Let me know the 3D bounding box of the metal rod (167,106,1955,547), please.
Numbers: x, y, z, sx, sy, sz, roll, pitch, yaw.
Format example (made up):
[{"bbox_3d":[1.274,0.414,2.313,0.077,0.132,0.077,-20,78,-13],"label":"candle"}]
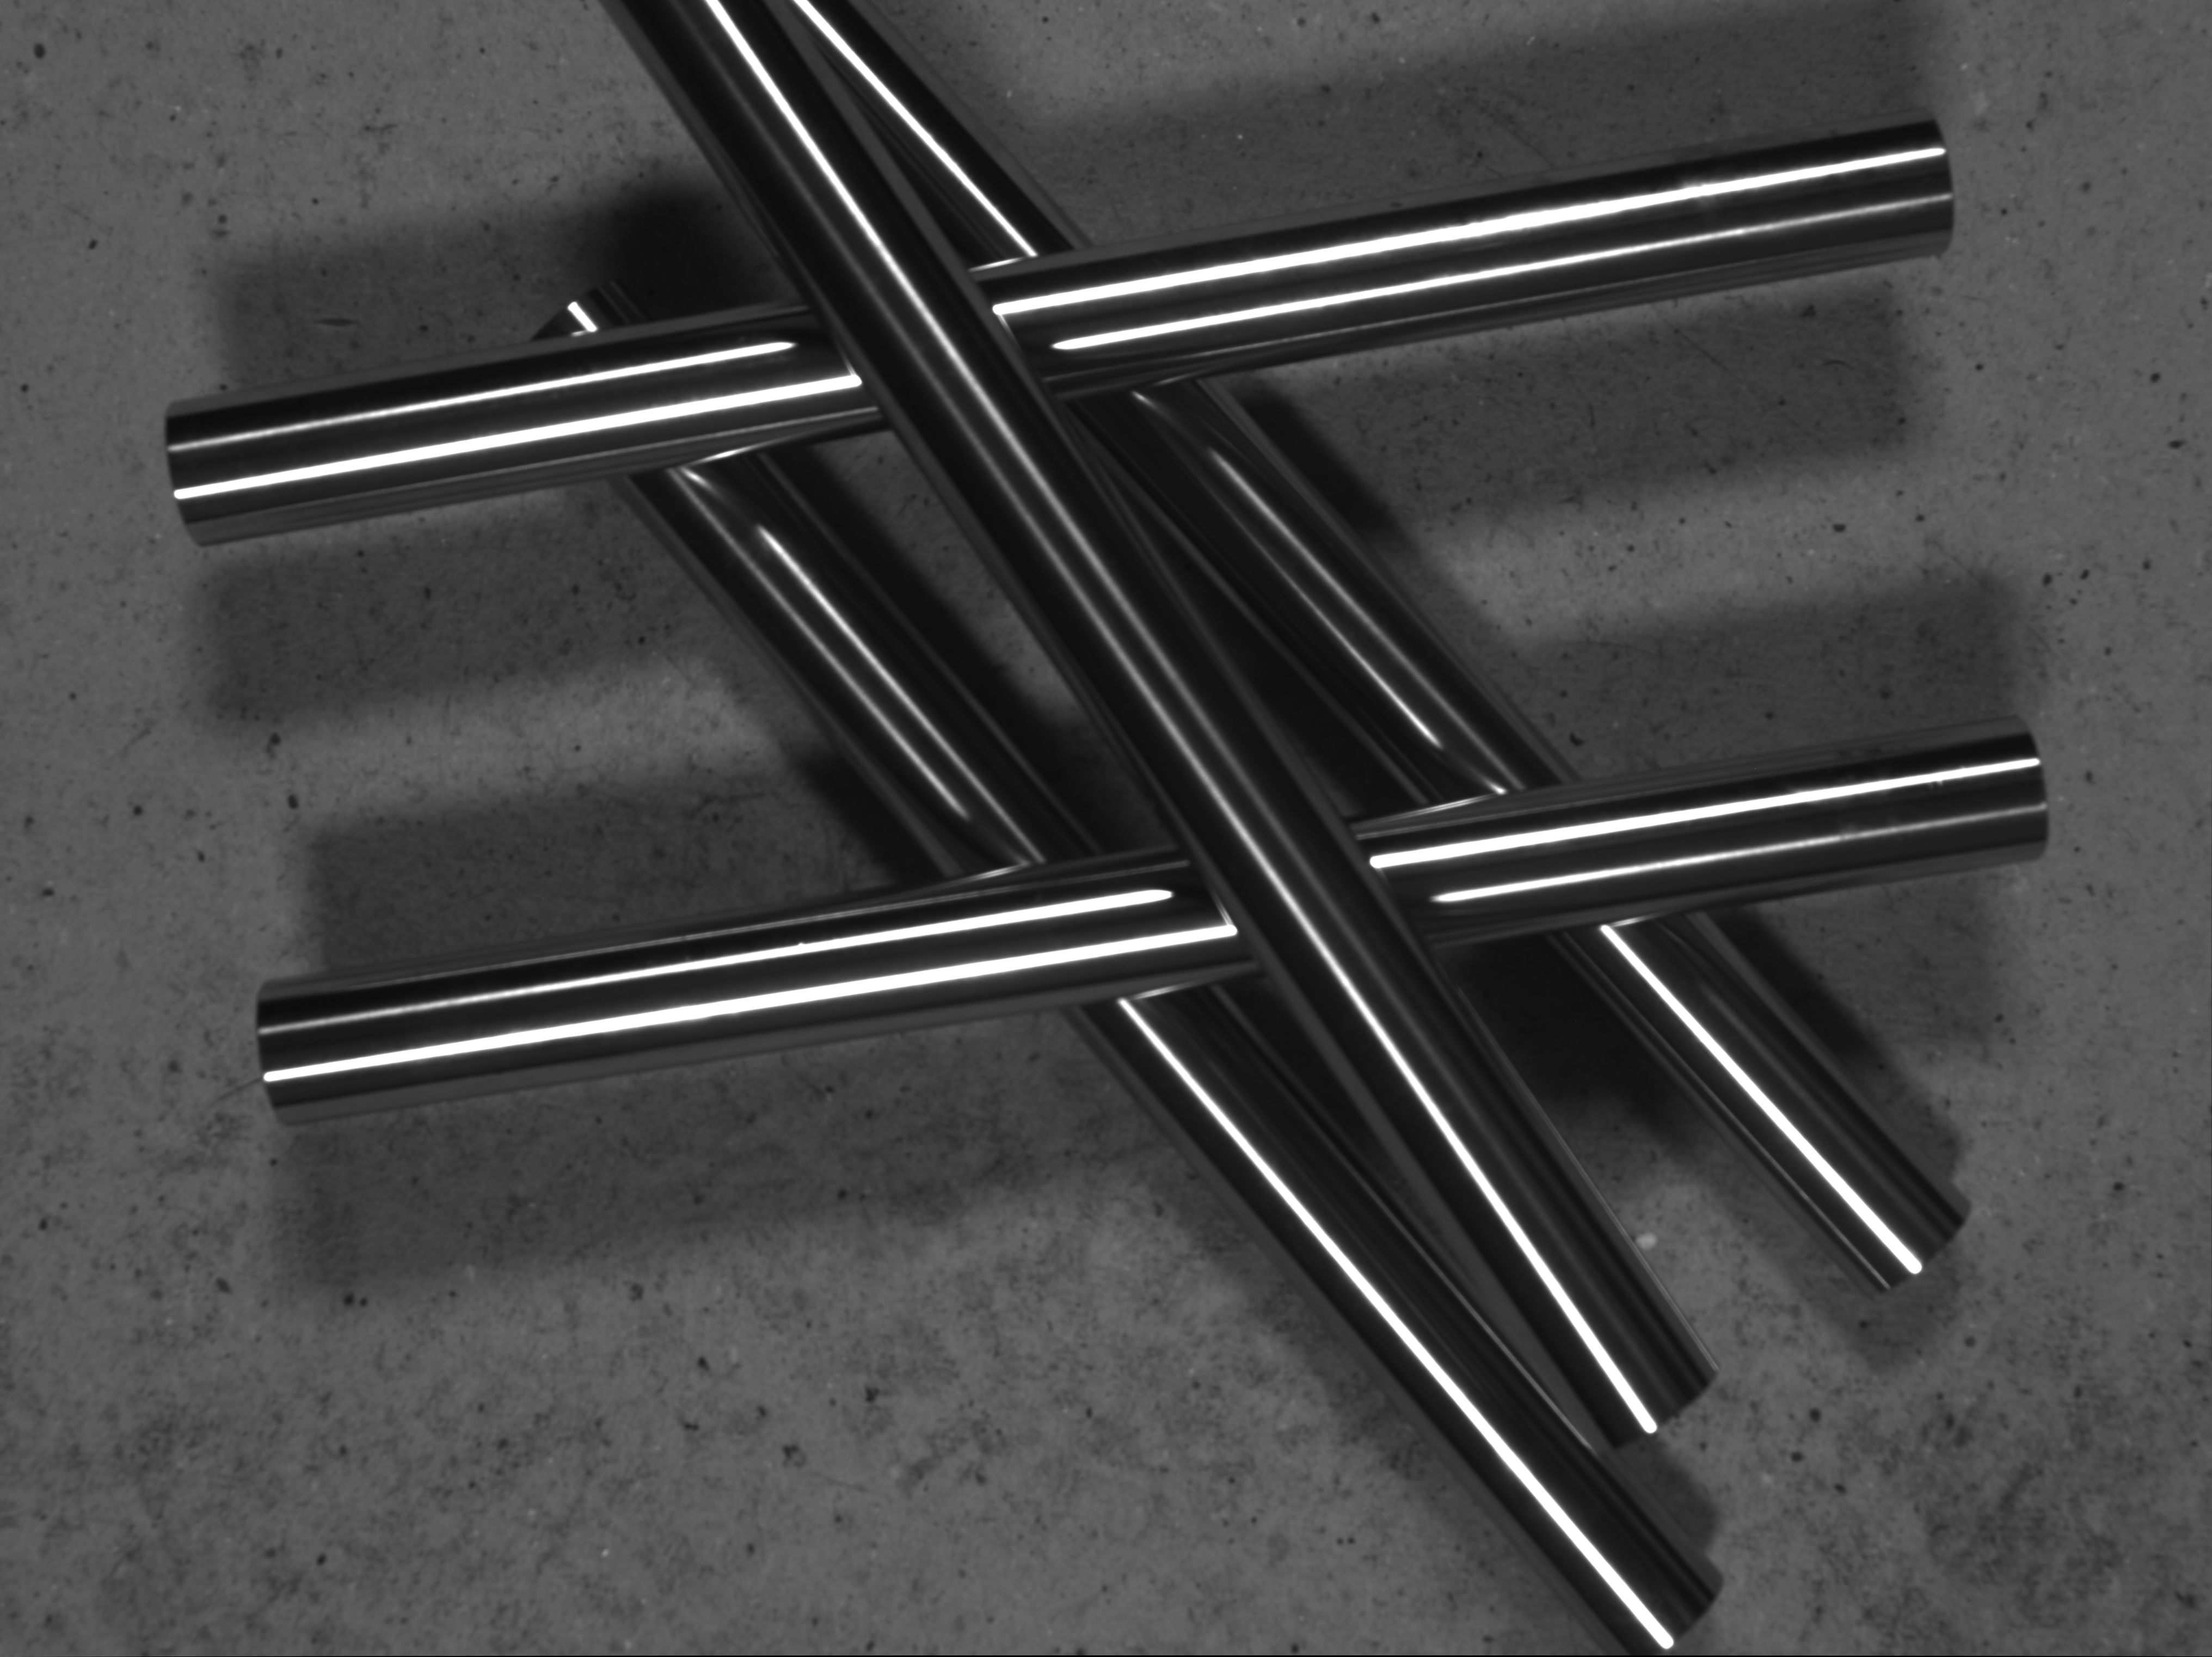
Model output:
[{"bbox_3d":[-0.007,-0.085,0.621,0.300,0.025,0.025,-10,90,-1],"label":"metal rod"}]

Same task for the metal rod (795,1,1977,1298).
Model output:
[{"bbox_3d":[0.043,-0.036,0.645,0.025,0.025,0.300,-43,90,0],"label":"metal rod"}]

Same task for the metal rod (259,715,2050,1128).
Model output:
[{"bbox_3d":[0.008,0.016,0.621,0.300,0.025,0.025,-9,90,-1],"label":"metal rod"}]

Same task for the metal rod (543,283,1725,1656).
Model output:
[{"bbox_3d":[0.002,0.027,0.645,0.025,0.025,0.300,-40,90,0],"label":"metal rod"}]

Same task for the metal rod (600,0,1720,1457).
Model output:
[{"bbox_3d":[0.005,-0.029,0.596,0.025,0.025,0.300,-34,90,0],"label":"metal rod"}]
